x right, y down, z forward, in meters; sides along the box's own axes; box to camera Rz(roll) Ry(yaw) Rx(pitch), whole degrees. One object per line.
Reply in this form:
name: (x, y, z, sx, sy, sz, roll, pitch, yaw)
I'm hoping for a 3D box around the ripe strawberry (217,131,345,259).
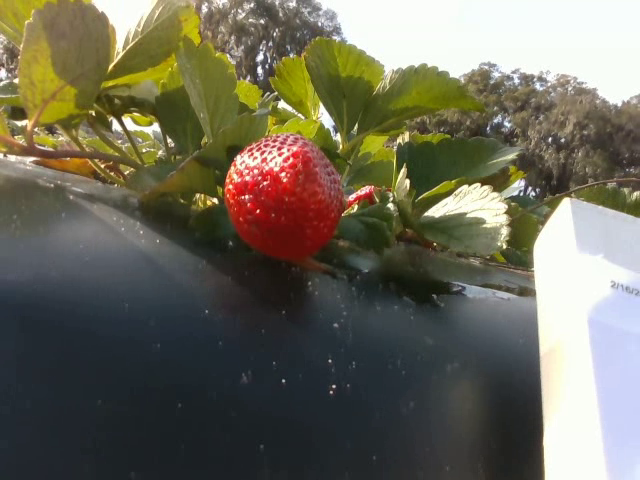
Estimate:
ripe strawberry: (-0.007, -0.015, 0.155, 0.041, 0.041, 0.047, -12, -7, -13)
